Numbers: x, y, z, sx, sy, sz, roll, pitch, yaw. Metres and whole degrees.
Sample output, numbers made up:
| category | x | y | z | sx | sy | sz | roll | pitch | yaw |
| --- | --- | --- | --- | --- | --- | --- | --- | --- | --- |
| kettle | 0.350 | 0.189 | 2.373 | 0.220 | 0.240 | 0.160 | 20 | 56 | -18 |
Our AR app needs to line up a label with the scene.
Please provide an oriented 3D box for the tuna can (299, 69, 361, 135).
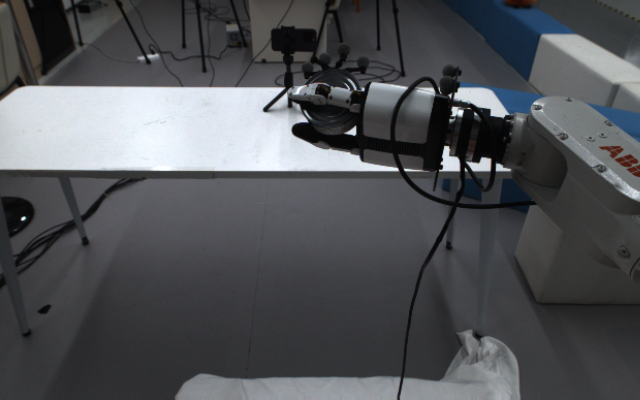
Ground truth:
| category | x | y | z | sx | sy | sz | roll | pitch | yaw |
| --- | --- | --- | --- | --- | --- | --- | --- | --- | --- |
| tuna can | 0.017 | -0.134 | 0.659 | 0.085 | 0.034 | 0.085 | -5 | 70 | 14 |
